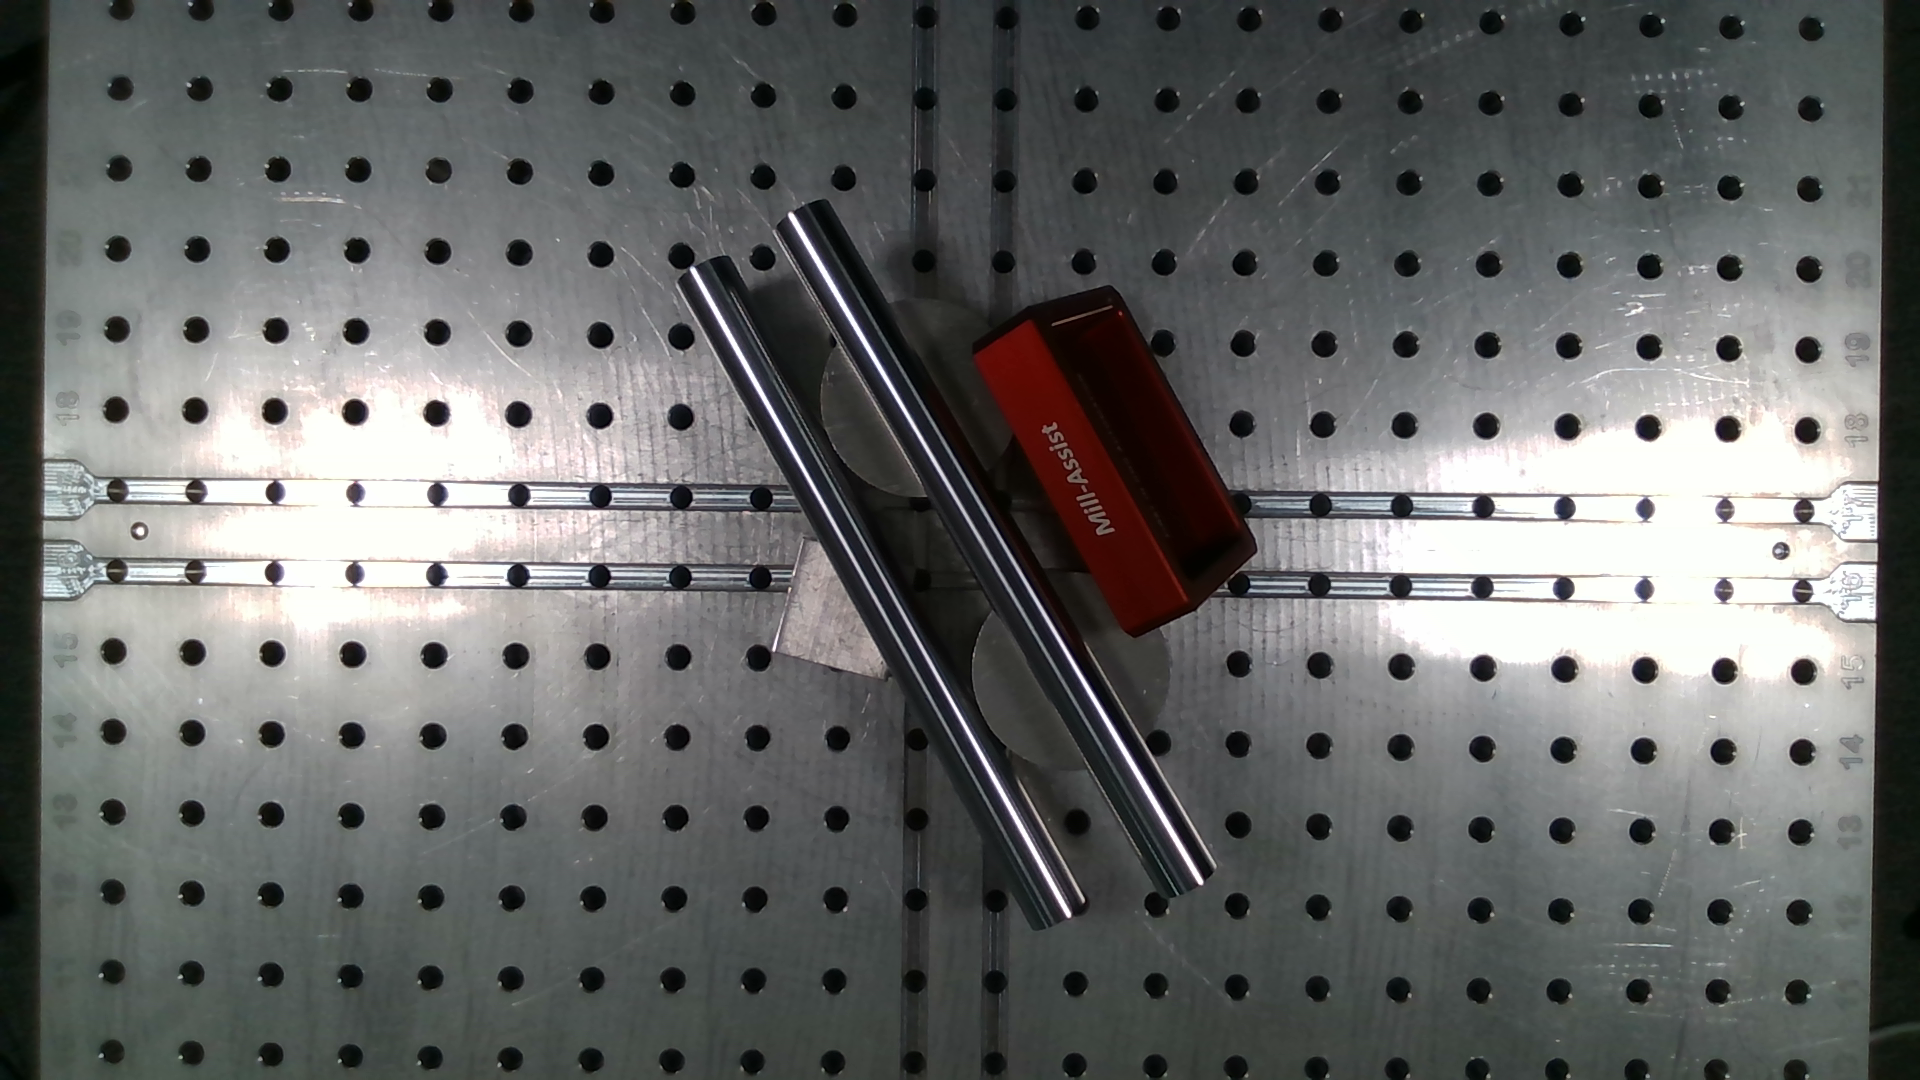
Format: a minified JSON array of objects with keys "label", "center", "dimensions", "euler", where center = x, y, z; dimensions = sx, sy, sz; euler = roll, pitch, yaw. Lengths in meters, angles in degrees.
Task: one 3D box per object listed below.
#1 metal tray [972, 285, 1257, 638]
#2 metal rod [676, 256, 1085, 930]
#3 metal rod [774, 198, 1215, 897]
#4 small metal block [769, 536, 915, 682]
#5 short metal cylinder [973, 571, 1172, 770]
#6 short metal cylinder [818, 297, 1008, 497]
[{"label":"metal tray","center":[0.065,-0.035,0.555],"dimensions":[0.030,0.090,0.130],"euler":[-29,91,32]},{"label":"metal rod","center":[-0.032,0.022,0.563],"dimensions":[0.025,0.025,0.300],"euler":[-29,90,0]},{"label":"metal rod","center":[0.014,0.003,0.538],"dimensions":[0.025,0.025,0.300],"euler":[-30,90,0]},{"label":"small metal block","center":[-0.049,0.029,0.589],"dimensions":[0.050,0.025,0.050],"euler":[15,90,0]},{"label":"short metal cylinder","center":[0.045,0.052,0.578],"dimensions":[0.080,0.050,0.080],"euler":[0,90,0]},{"label":"short metal cylinder","center":[-0.017,-0.057,0.576],"dimensions":[0.080,0.050,0.080],"euler":[0,90,0]}]
